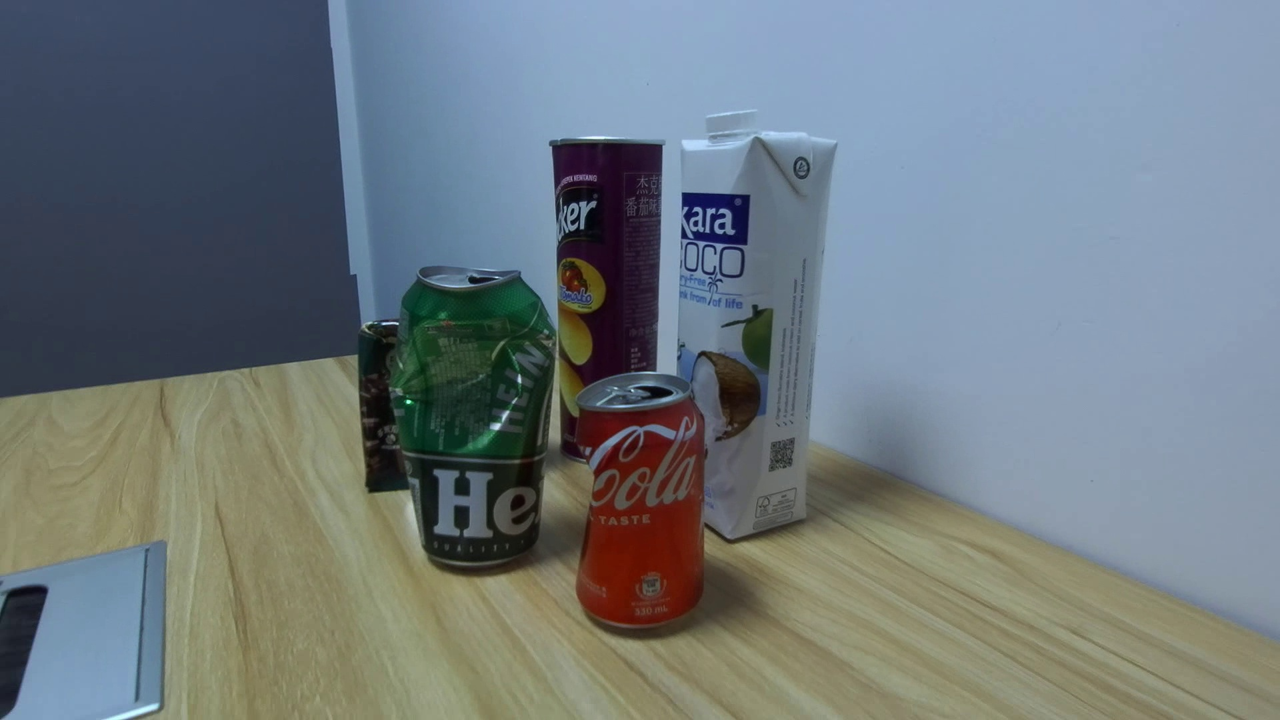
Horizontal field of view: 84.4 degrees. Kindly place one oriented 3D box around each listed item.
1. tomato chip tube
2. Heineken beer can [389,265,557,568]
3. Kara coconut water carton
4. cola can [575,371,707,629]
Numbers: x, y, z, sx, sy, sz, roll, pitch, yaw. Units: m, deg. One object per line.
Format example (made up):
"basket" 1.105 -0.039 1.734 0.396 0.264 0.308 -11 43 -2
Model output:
"tomato chip tube" -0.023 -0.043 0.531 0.077 0.234 0.080 -4 14 -15
"Heineken beer can" -0.094 0.032 0.392 0.077 0.164 0.066 17 23 41
"Kara coconut water carton" 0.063 -0.020 0.426 0.076 0.245 0.076 -8 17 -32
"cola can" 0.001 0.068 0.347 0.065 0.117 0.072 4 16 10
